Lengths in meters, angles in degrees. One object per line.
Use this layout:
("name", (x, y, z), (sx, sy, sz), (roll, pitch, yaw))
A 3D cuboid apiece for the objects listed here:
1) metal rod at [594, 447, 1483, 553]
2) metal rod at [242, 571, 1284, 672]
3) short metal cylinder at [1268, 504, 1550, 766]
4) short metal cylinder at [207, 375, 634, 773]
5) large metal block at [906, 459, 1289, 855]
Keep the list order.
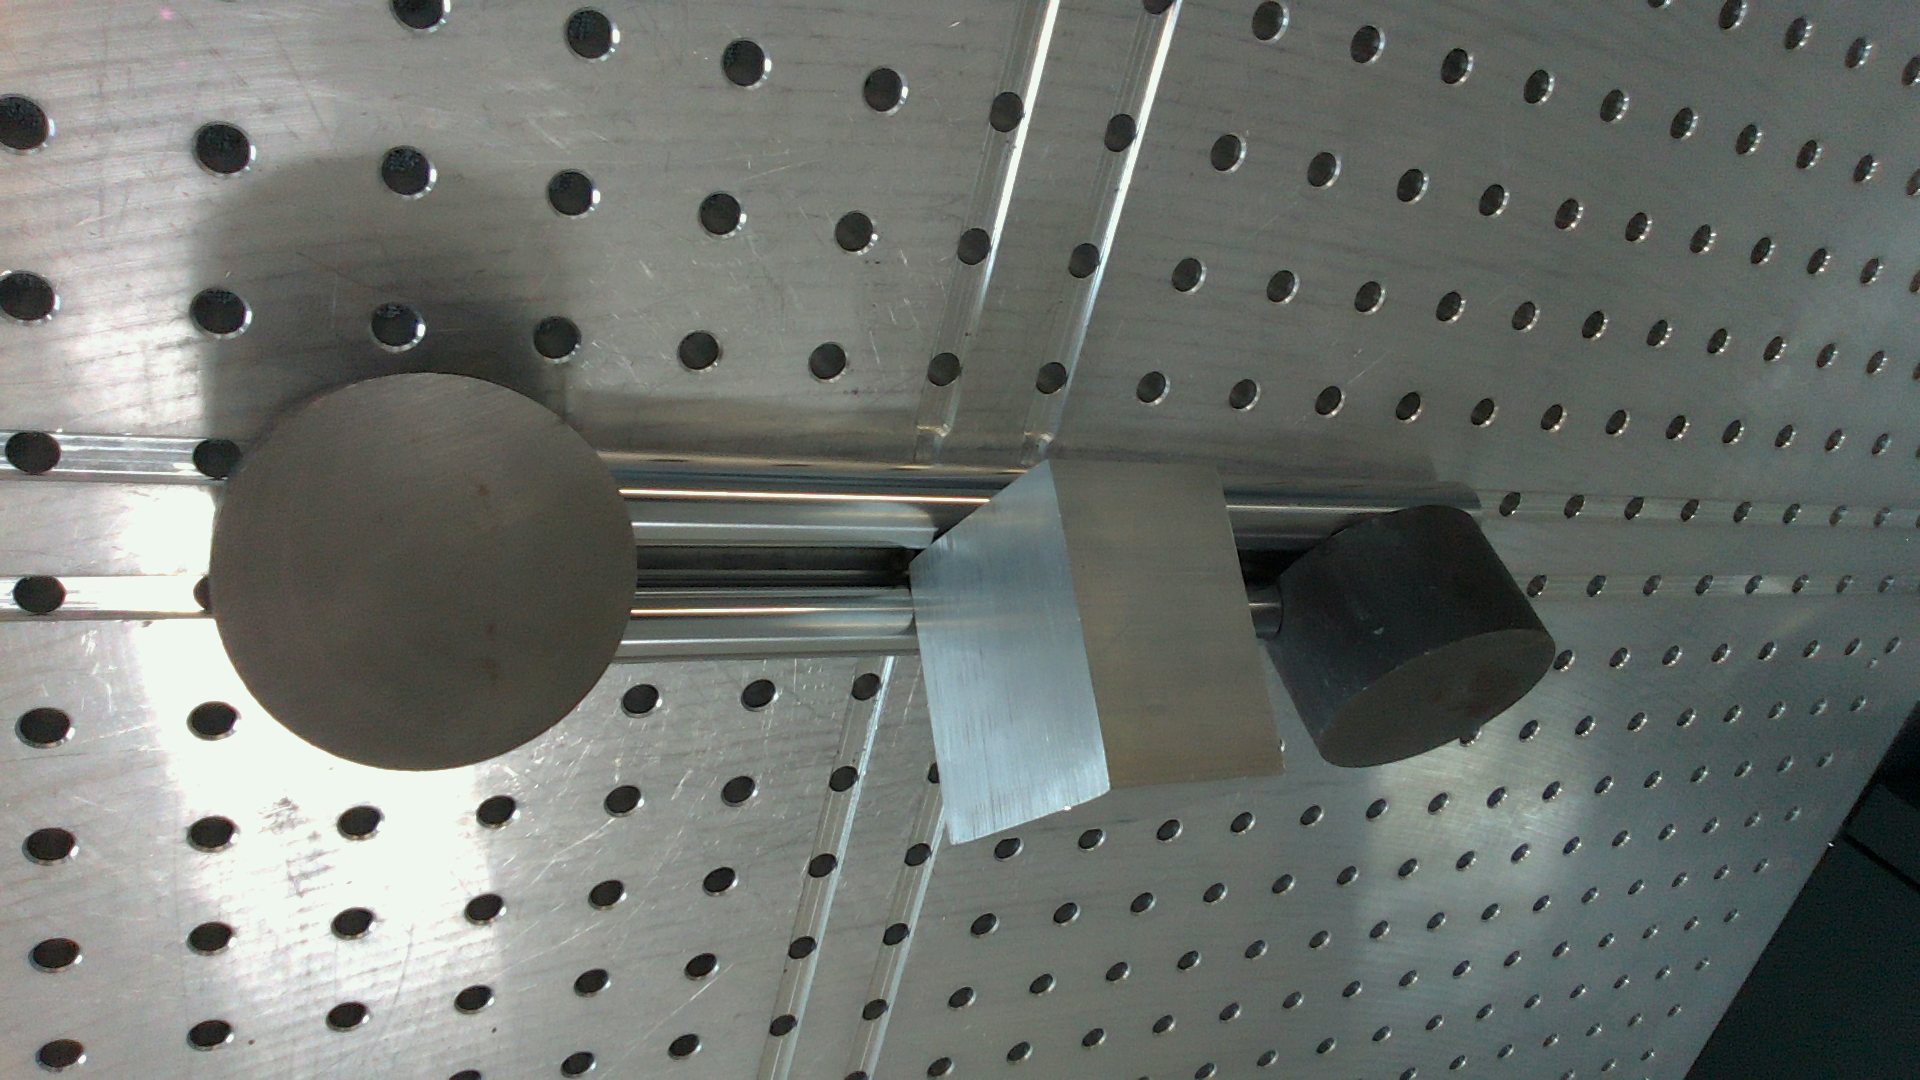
("metal rod", (0.041, -0.009, 0.408), (0.301, 0.025, 0.025), (1, 118, -29))
("metal rod", (-0.032, 0.021, 0.387), (0.301, 0.025, 0.025), (1, 118, -29))
("short metal cylinder", (0.145, 0.033, 0.458), (0.080, 0.050, 0.080), (-14, 145, -10))
("short metal cylinder", (-0.117, 0.005, 0.297), (0.080, 0.050, 0.080), (-3, 97, -28))
("large metal block", (0.031, 0.032, 0.355), (0.050, 0.080, 0.080), (1, 160, -29))
